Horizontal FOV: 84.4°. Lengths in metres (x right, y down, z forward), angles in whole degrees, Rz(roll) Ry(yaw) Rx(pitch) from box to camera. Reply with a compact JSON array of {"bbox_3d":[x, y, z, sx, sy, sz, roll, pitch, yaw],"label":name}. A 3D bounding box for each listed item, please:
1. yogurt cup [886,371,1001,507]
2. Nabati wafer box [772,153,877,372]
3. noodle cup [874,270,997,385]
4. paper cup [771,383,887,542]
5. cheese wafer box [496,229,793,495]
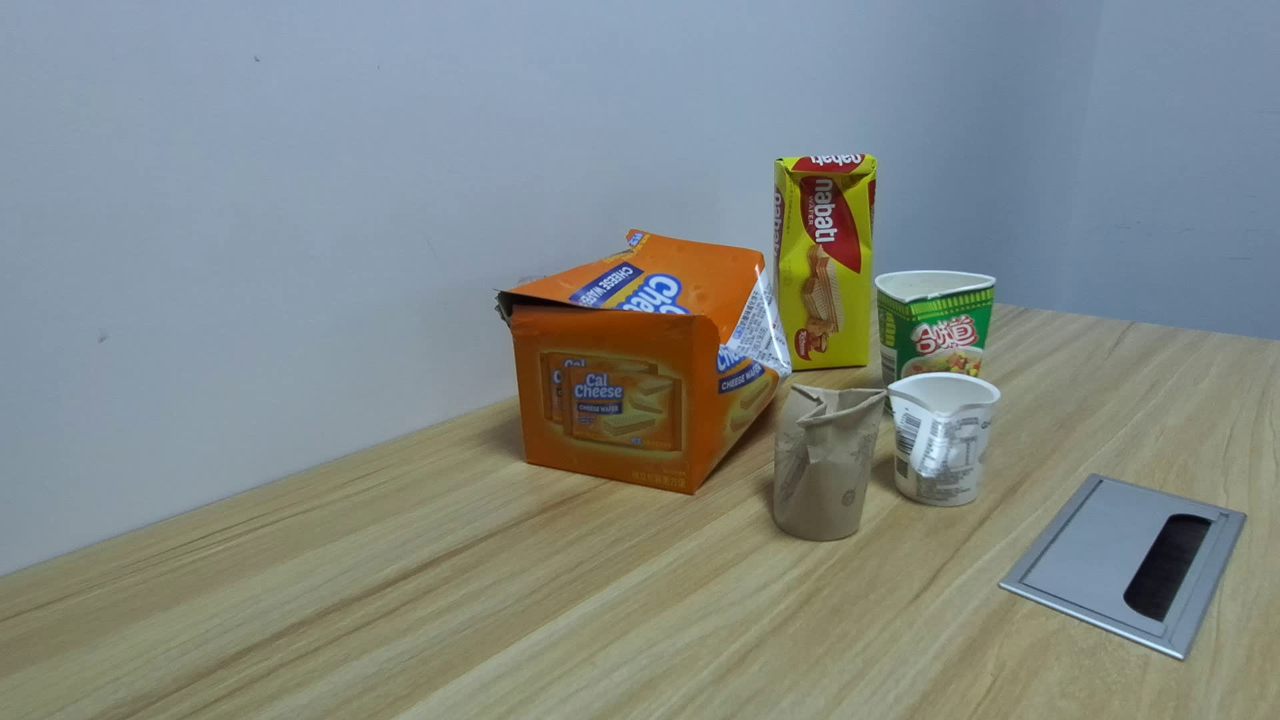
[{"bbox_3d":[0.199,0.051,0.467,0.067,0.070,0.067,-4,18,2],"label":"yogurt cup"},{"bbox_3d":[0.176,-0.091,0.681,0.096,0.203,0.042,-2,15,-5],"label":"Nabati wafer box"},{"bbox_3d":[0.239,-0.012,0.584,0.094,0.109,0.087,-4,20,-1],"label":"noodle cup"},{"bbox_3d":[0.109,0.061,0.437,0.067,0.083,0.058,-19,23,-40],"label":"paper cup"},{"bbox_3d":[0.027,-0.015,0.576,0.190,0.145,0.219,6,21,25],"label":"cheese wafer box"}]
